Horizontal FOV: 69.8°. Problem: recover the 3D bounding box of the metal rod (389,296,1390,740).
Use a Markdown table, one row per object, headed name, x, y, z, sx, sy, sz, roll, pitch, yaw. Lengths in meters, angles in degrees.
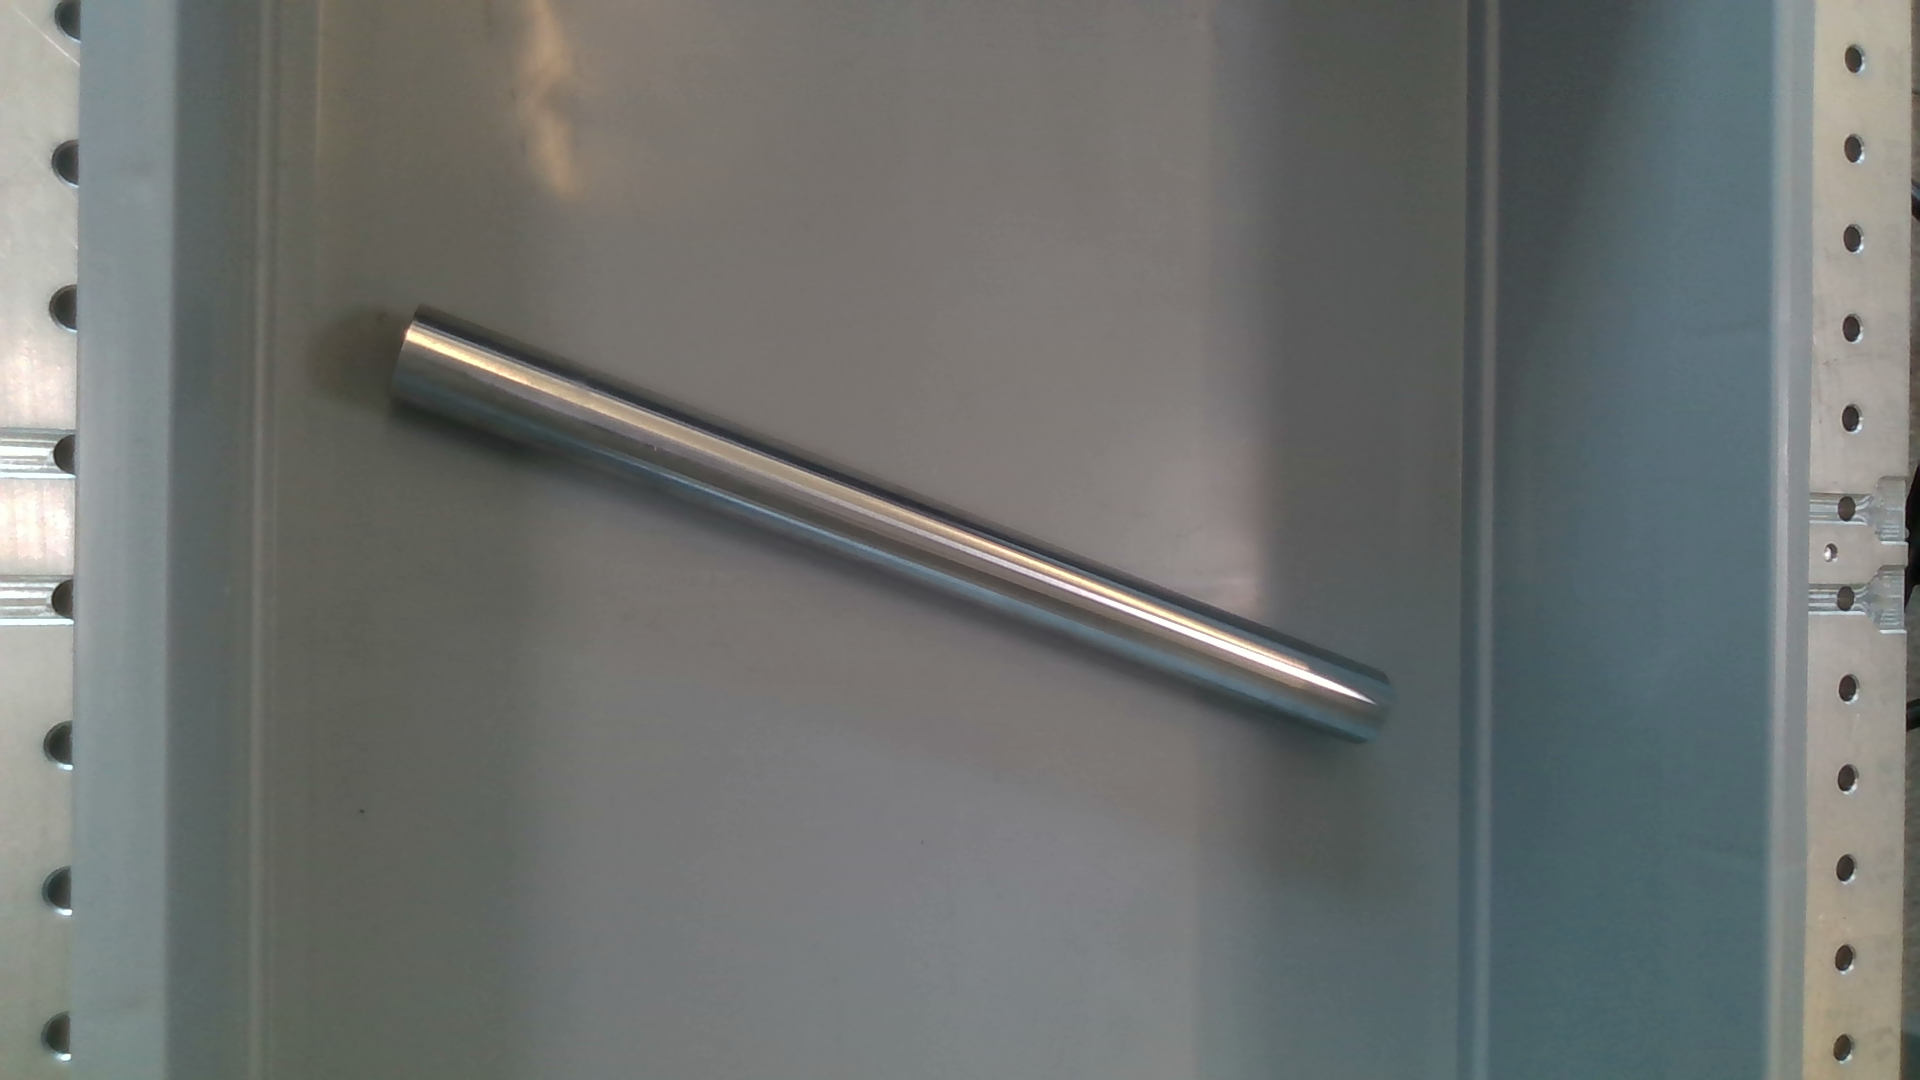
| name | x | y | z | sx | sy | sz | roll | pitch | yaw |
| --- | --- | --- | --- | --- | --- | --- | --- | --- | --- |
| metal rod | -0.004 | 0.001 | 0.390 | 0.300 | 0.025 | 0.025 | 21 | 83 | -19 |
